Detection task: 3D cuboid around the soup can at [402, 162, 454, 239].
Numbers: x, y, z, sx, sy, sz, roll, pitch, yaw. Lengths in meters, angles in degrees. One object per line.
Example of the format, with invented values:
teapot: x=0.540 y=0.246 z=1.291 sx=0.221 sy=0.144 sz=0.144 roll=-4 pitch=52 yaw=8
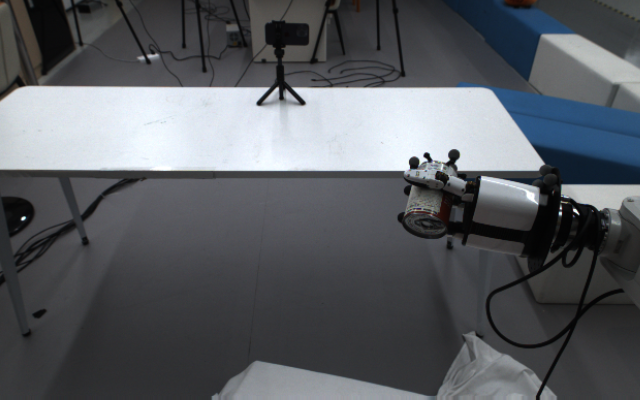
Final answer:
soup can: x=0.170 y=-0.003 z=0.740 sx=0.067 sy=0.067 sz=0.101 roll=12 pitch=59 yaw=14
